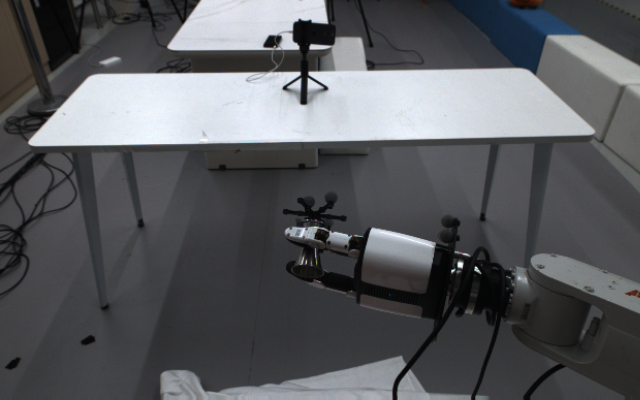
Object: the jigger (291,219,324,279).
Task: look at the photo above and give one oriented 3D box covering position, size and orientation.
[{"bbox_3d":[-0.016,0.064,0.650,0.043,0.043,0.071,5,60,5],"label":"jigger"}]
